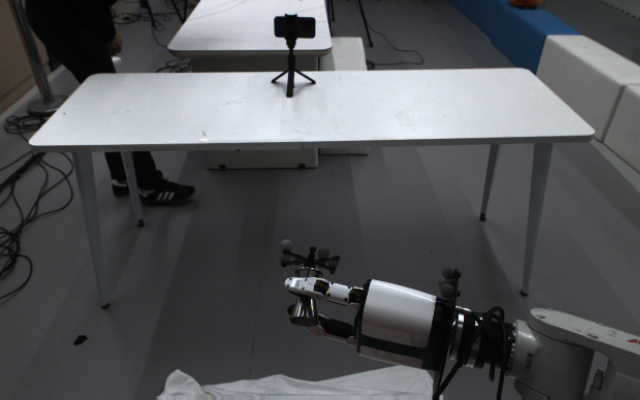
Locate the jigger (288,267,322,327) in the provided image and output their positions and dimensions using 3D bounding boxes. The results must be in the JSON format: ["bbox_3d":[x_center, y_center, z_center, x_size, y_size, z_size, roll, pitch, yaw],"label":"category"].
[{"bbox_3d":[-0.019,0.126,0.643,0.043,0.043,0.071,4,60,3],"label":"jigger"}]
